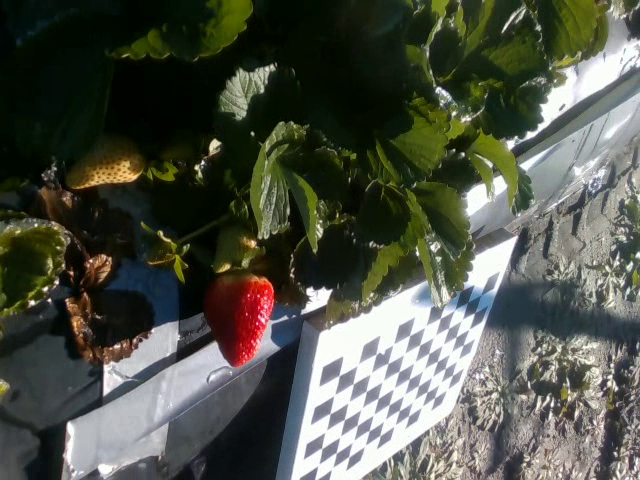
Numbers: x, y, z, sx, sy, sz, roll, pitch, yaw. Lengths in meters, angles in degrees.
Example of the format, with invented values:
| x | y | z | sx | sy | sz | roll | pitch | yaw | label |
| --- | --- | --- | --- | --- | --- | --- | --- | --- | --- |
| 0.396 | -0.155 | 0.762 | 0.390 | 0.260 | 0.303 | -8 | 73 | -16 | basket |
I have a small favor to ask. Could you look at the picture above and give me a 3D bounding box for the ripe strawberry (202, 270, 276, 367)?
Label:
| x | y | z | sx | sy | sz | roll | pitch | yaw | label |
| --- | --- | --- | --- | --- | --- | --- | --- | --- | --- |
| -0.054 | 0.061 | 0.440 | 0.058 | 0.065 | 0.062 | -15 | -20 | 28 | ripe strawberry |
